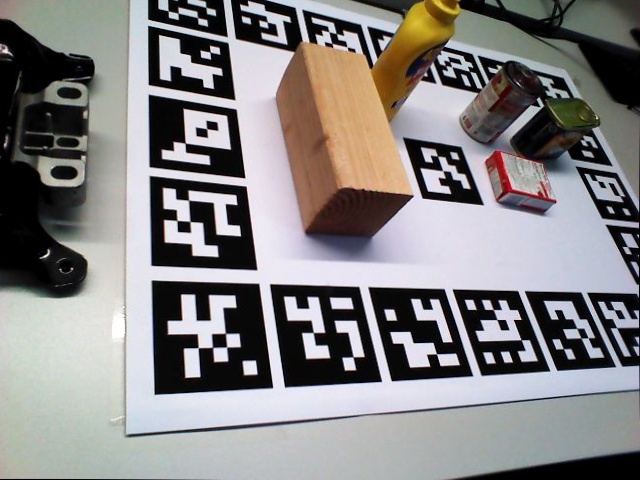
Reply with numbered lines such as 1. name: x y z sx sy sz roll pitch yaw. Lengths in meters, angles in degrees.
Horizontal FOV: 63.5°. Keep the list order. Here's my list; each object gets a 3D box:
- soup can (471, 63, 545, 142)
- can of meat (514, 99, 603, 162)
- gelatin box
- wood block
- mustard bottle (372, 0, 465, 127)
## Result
1. soup can: 0.274 -0.198 0.740 0.068 0.103 0.067 12 57 -19
2. can of meat: 0.359 -0.164 0.784 0.101 0.084 0.057 -10 66 -33
3. gelatin box: 0.296 -0.076 0.726 0.089 0.030 0.073 11 58 -17
4. wood block: 0.022 -0.109 0.579 0.091 0.090 0.205 5 54 -26
5. mustard bottle: 0.111 -0.218 0.633 0.095 0.193 0.058 -24 72 -37
